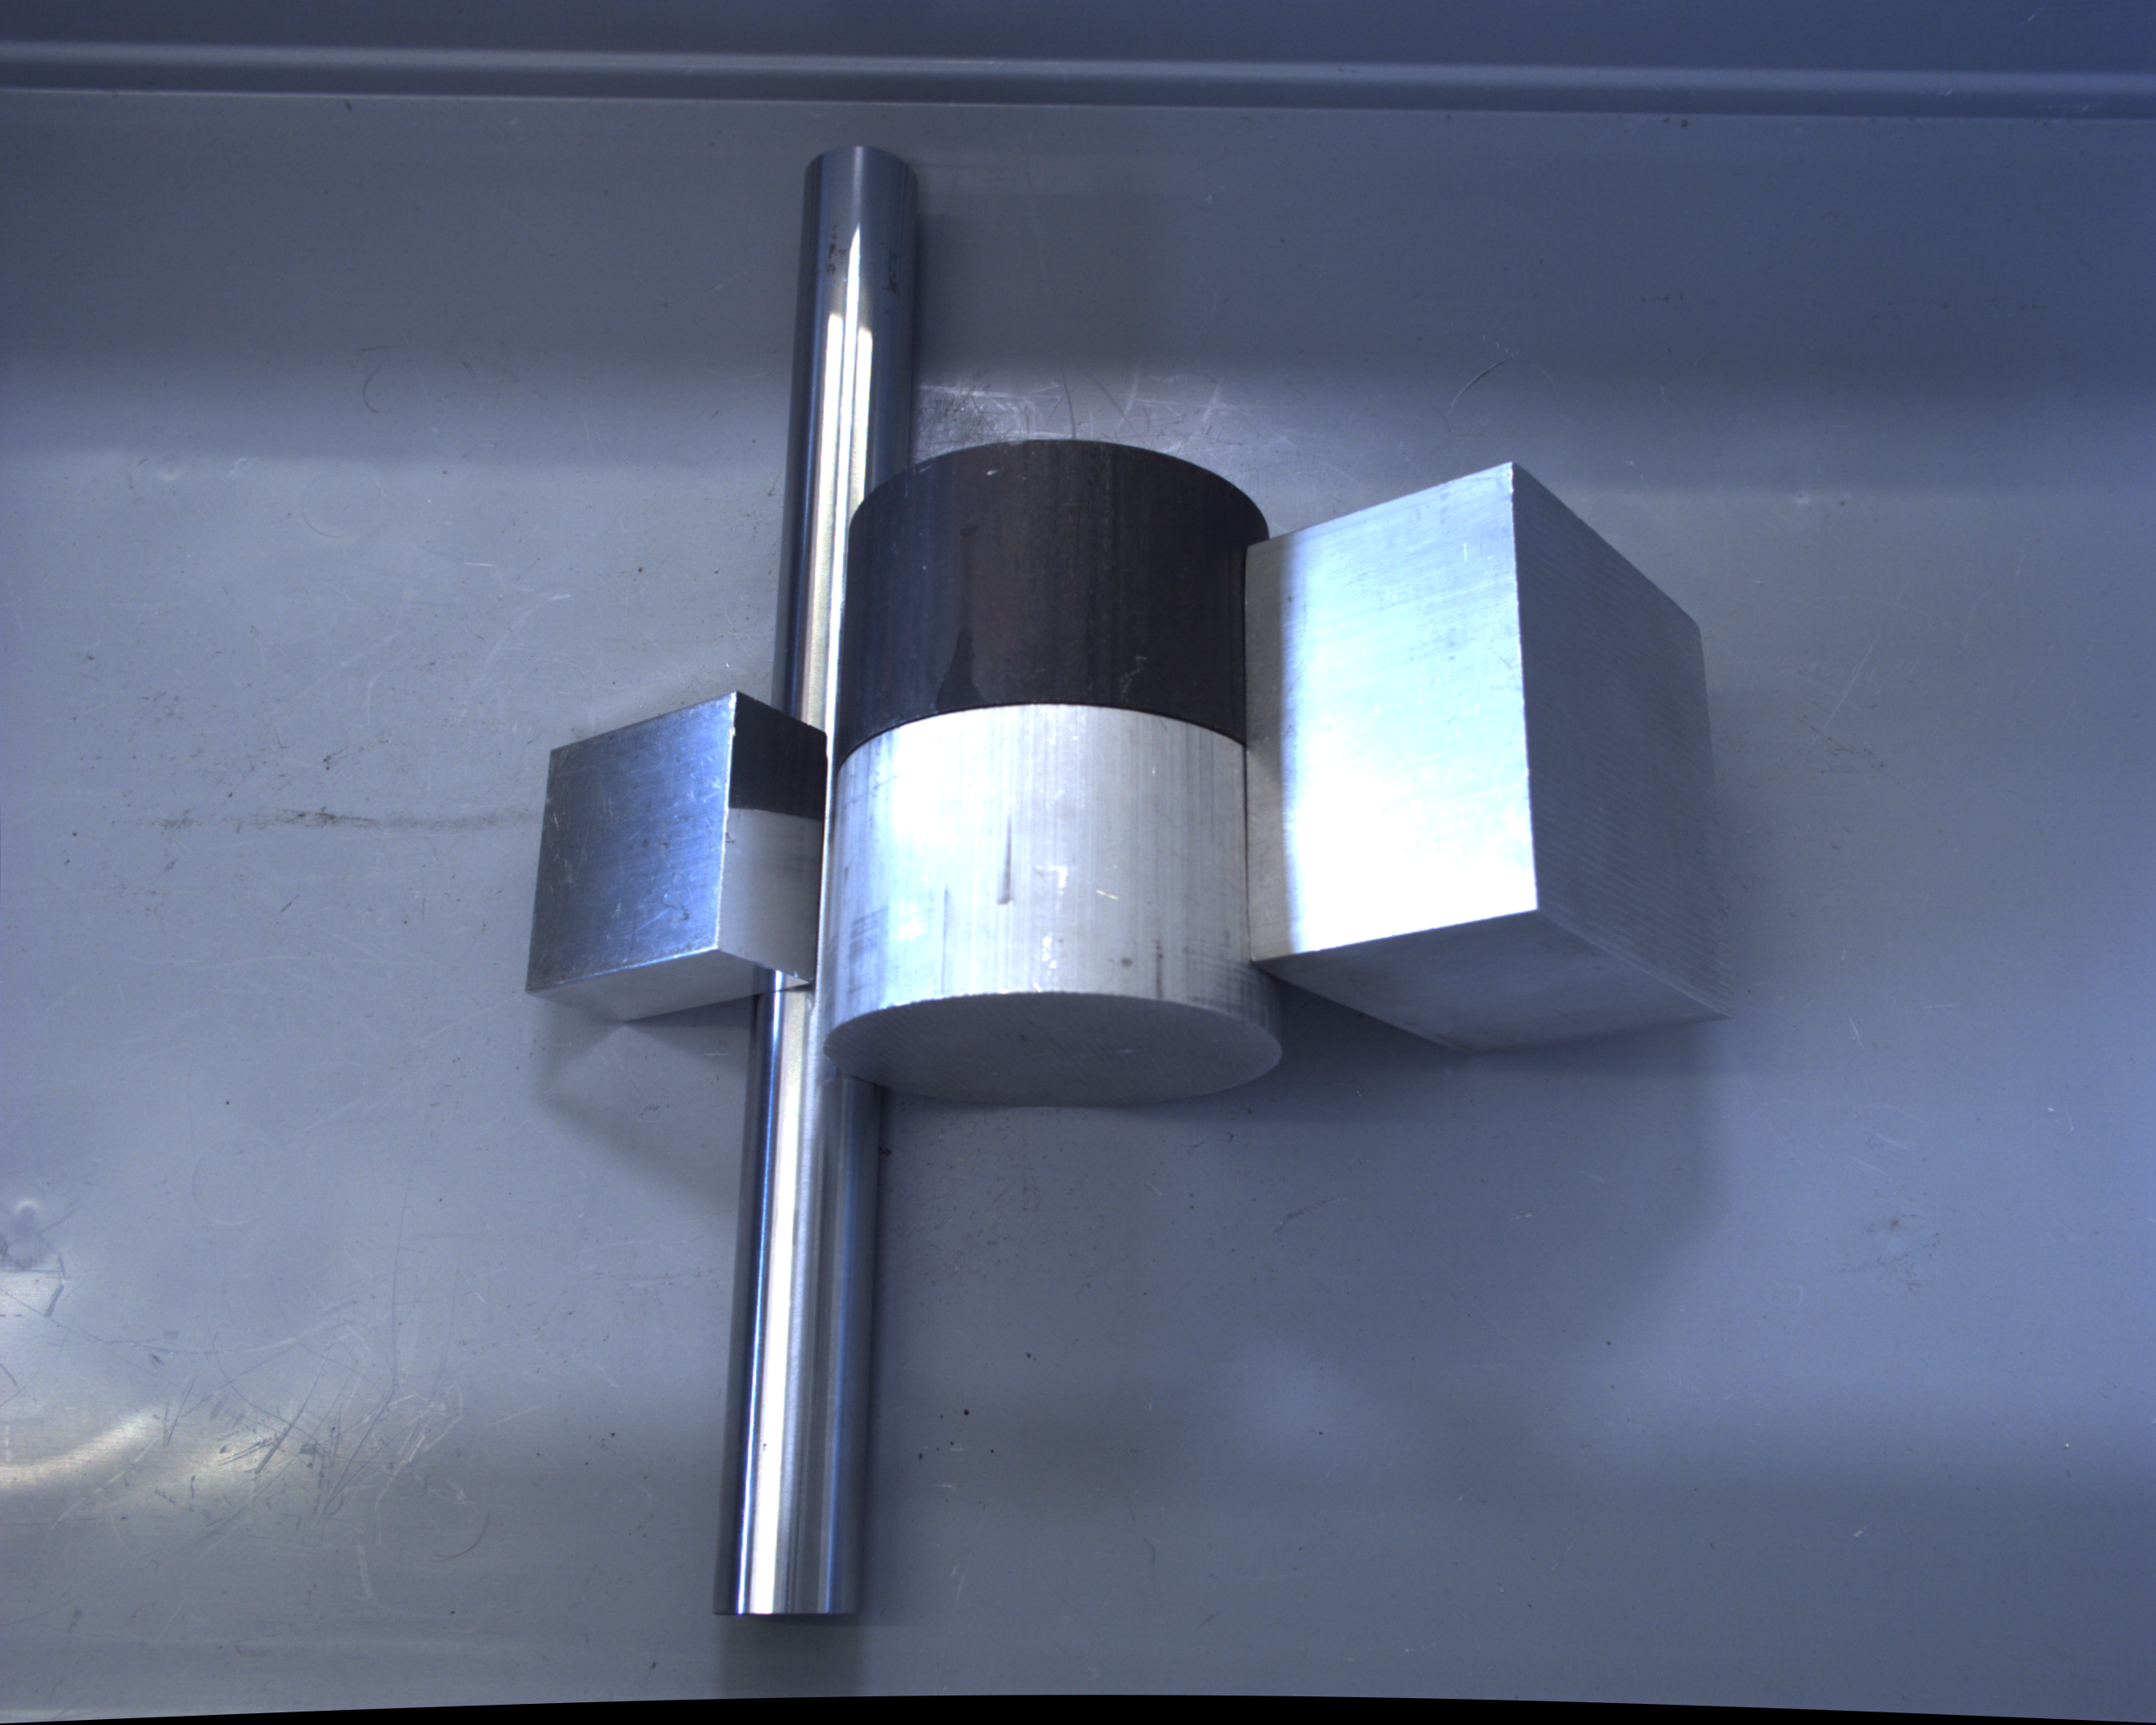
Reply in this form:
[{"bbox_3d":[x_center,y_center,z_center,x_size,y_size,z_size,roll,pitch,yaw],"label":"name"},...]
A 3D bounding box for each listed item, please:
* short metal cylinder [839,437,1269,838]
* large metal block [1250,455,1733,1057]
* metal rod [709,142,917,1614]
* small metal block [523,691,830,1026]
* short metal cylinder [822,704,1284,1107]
[{"bbox_3d":[-0.004,-0.037,0.392,0.081,0.080,0.050,0,70,0],"label":"short metal cylinder"},{"bbox_3d":[0.075,-0.015,0.377,0.050,0.080,0.080,-14,66,36],"label":"large metal block"},{"bbox_3d":[-0.049,-0.011,0.411,0.025,0.025,0.299,1,70,0],"label":"metal rod"},{"bbox_3d":[-0.076,0.000,0.395,0.050,0.025,0.050,-13,65,32],"label":"small metal block"},{"bbox_3d":[-0.004,0.010,0.374,0.081,0.080,0.050,0,70,0],"label":"short metal cylinder"}]
